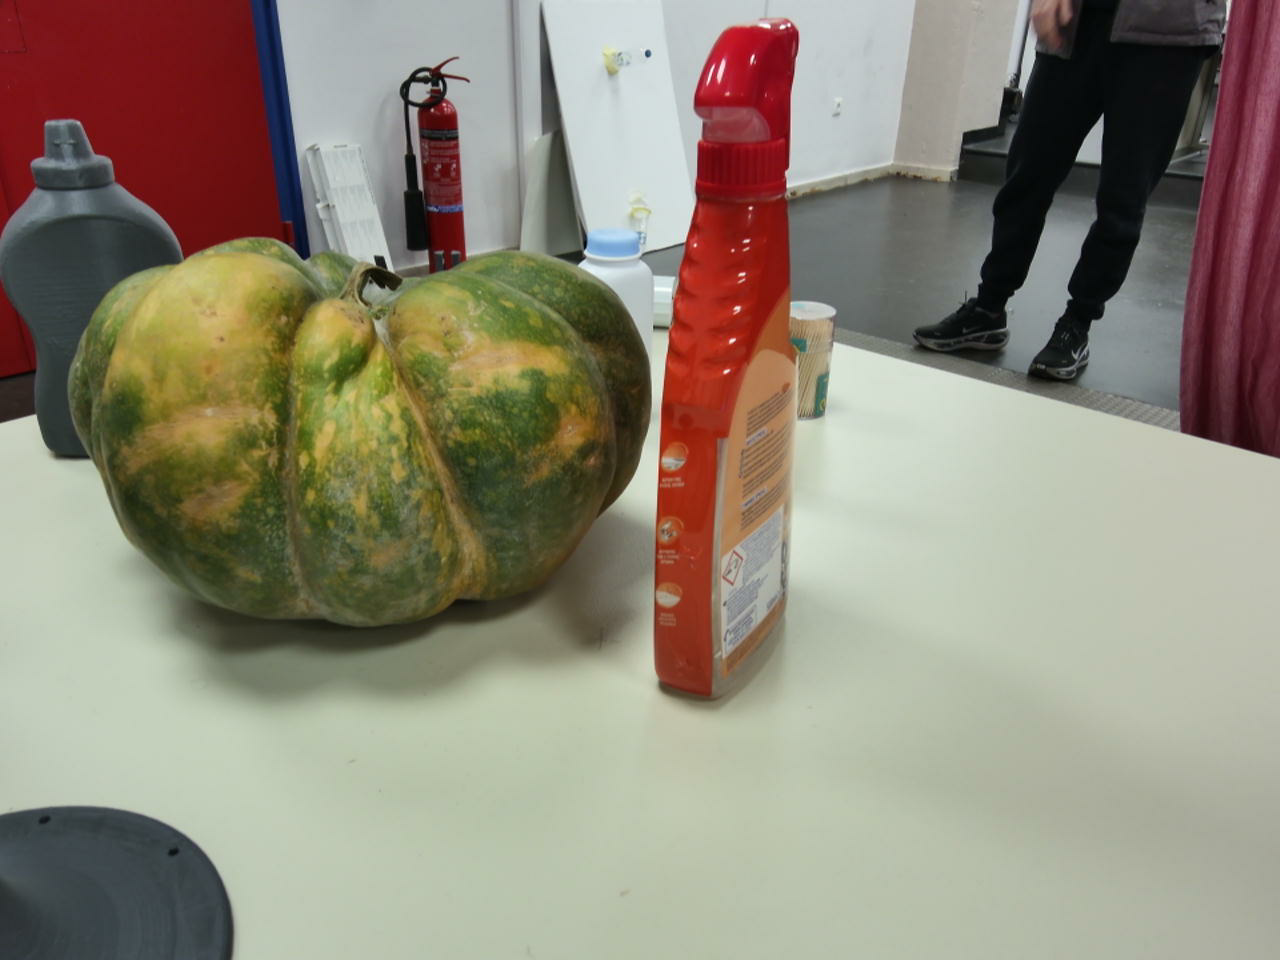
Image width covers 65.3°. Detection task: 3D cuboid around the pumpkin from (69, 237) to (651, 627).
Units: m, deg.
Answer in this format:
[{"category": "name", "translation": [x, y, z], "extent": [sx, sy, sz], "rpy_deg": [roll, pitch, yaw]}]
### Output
[{"category": "pumpkin", "translation": [-0.131, -0.034, 0.476], "extent": [0.270, 0.173, 0.237], "rpy_deg": [-5, 25, -11]}]
